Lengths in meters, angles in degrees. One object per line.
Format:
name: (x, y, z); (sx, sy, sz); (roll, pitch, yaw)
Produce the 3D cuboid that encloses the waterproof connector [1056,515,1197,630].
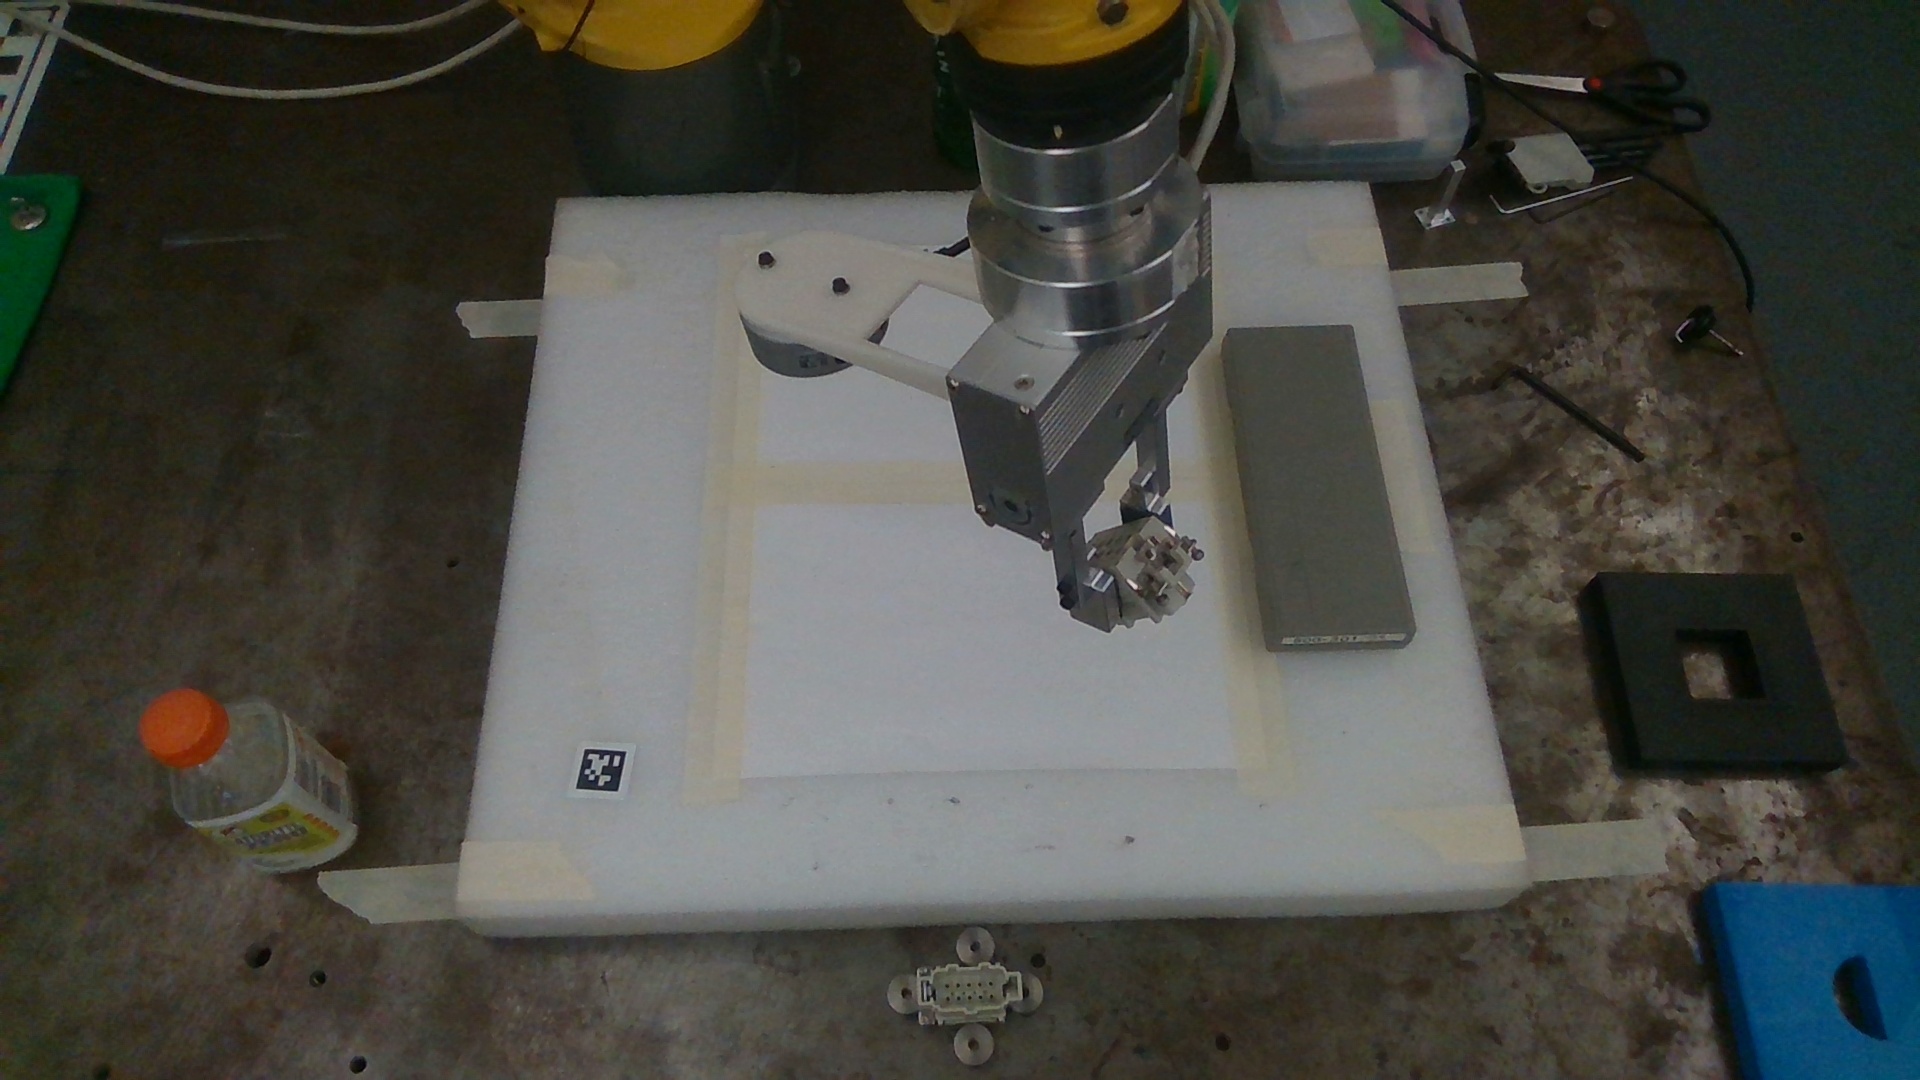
waterproof connector: (0.076, 0.017, 0.622); (0.038, 0.069, 0.036); (46, 58, -16)
